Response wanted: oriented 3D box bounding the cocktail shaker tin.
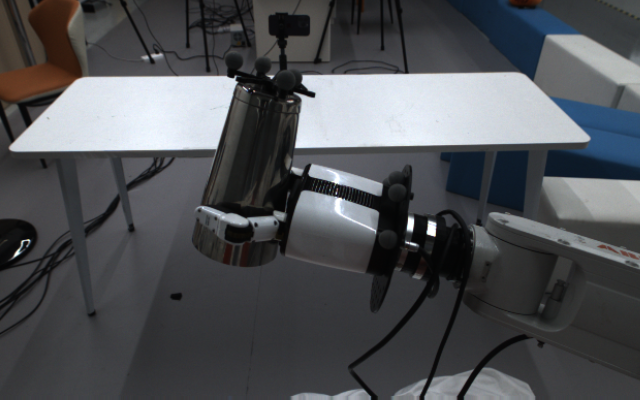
[{"bbox_3d":[-0.069,-0.027,0.497,0.093,0.170,0.093,14,20,-5],"label":"cocktail shaker tin"}]
